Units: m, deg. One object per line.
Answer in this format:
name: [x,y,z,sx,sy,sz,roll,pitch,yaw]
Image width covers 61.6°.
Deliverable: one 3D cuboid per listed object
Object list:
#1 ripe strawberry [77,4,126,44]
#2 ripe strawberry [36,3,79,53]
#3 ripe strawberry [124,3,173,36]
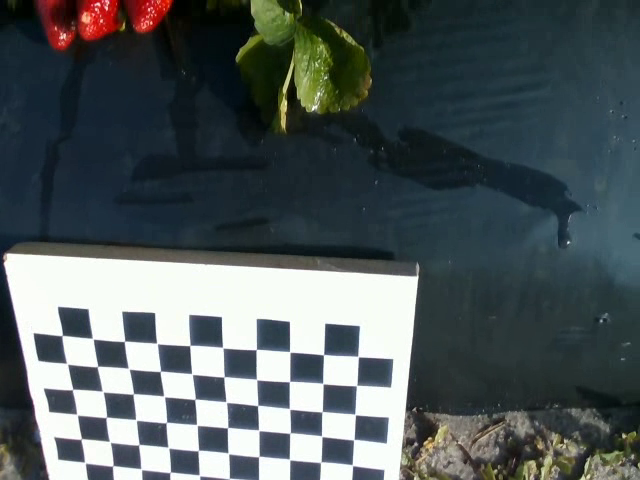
ripe strawberry: [-0.128,-0.130,0.303,0.030,0.039,0.037,13,-43,5]
ripe strawberry: [-0.155,-0.133,0.314,0.031,0.046,0.023,3,5,9]
ripe strawberry: [-0.099,-0.130,0.302,0.035,0.041,0.034,-1,-31,10]
